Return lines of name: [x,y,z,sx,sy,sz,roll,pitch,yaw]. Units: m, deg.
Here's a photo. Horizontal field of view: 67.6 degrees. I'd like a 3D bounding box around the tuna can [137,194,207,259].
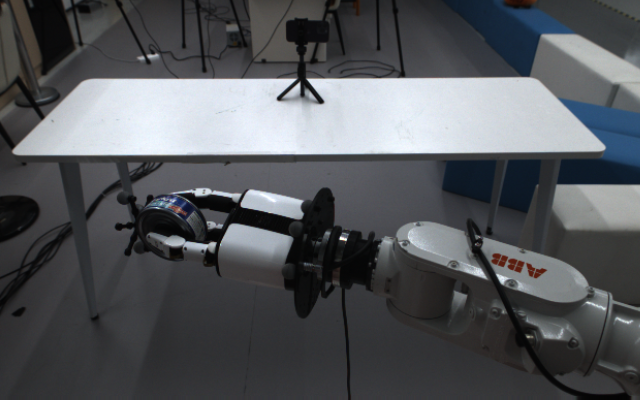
tuna can: [-0.188,0.039,0.619,0.085,0.085,0.034,9,34,10]
